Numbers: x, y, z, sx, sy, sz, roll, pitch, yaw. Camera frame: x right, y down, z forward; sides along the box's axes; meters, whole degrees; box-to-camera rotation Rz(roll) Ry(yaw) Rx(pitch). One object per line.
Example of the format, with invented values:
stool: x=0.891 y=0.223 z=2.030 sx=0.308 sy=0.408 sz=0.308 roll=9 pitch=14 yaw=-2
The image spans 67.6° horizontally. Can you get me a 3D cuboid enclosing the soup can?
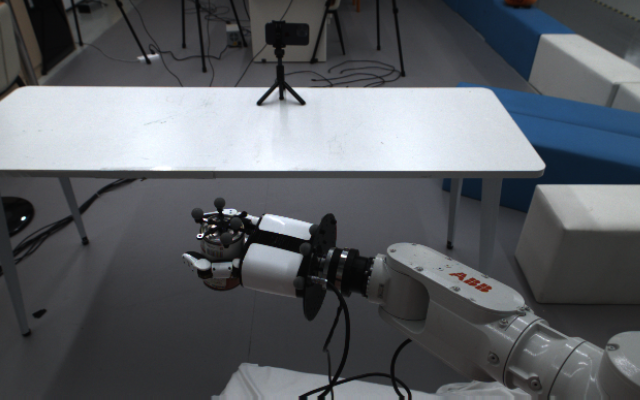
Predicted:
soup can: x=-0.149 y=0.083 z=0.744 sx=0.067 sy=0.101 sz=0.067 roll=5 pitch=37 yaw=-4
